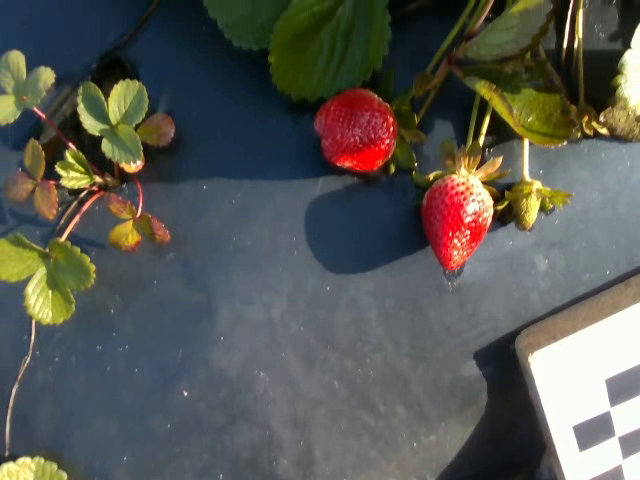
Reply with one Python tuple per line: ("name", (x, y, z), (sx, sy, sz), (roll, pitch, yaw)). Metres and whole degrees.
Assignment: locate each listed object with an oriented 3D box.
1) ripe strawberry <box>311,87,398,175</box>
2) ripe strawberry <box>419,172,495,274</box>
("ripe strawberry", (0.020, -0.056, 0.316), (0.054, 0.048, 0.039), (-21, 28, -27))
("ripe strawberry", (0.071, -0.009, 0.308), (0.043, 0.053, 0.038), (15, -20, -16))
